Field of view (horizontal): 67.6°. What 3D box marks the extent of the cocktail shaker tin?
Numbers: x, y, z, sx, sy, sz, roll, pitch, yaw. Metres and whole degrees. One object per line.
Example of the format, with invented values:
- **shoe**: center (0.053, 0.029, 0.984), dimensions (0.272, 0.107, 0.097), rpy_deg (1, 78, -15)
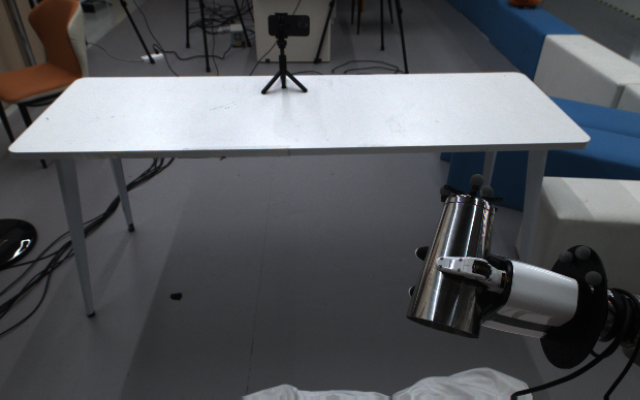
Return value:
- **cocktail shaker tin**: center (0.178, 0.083, 0.633), dimensions (0.093, 0.093, 0.170), rpy_deg (14, 73, 17)
